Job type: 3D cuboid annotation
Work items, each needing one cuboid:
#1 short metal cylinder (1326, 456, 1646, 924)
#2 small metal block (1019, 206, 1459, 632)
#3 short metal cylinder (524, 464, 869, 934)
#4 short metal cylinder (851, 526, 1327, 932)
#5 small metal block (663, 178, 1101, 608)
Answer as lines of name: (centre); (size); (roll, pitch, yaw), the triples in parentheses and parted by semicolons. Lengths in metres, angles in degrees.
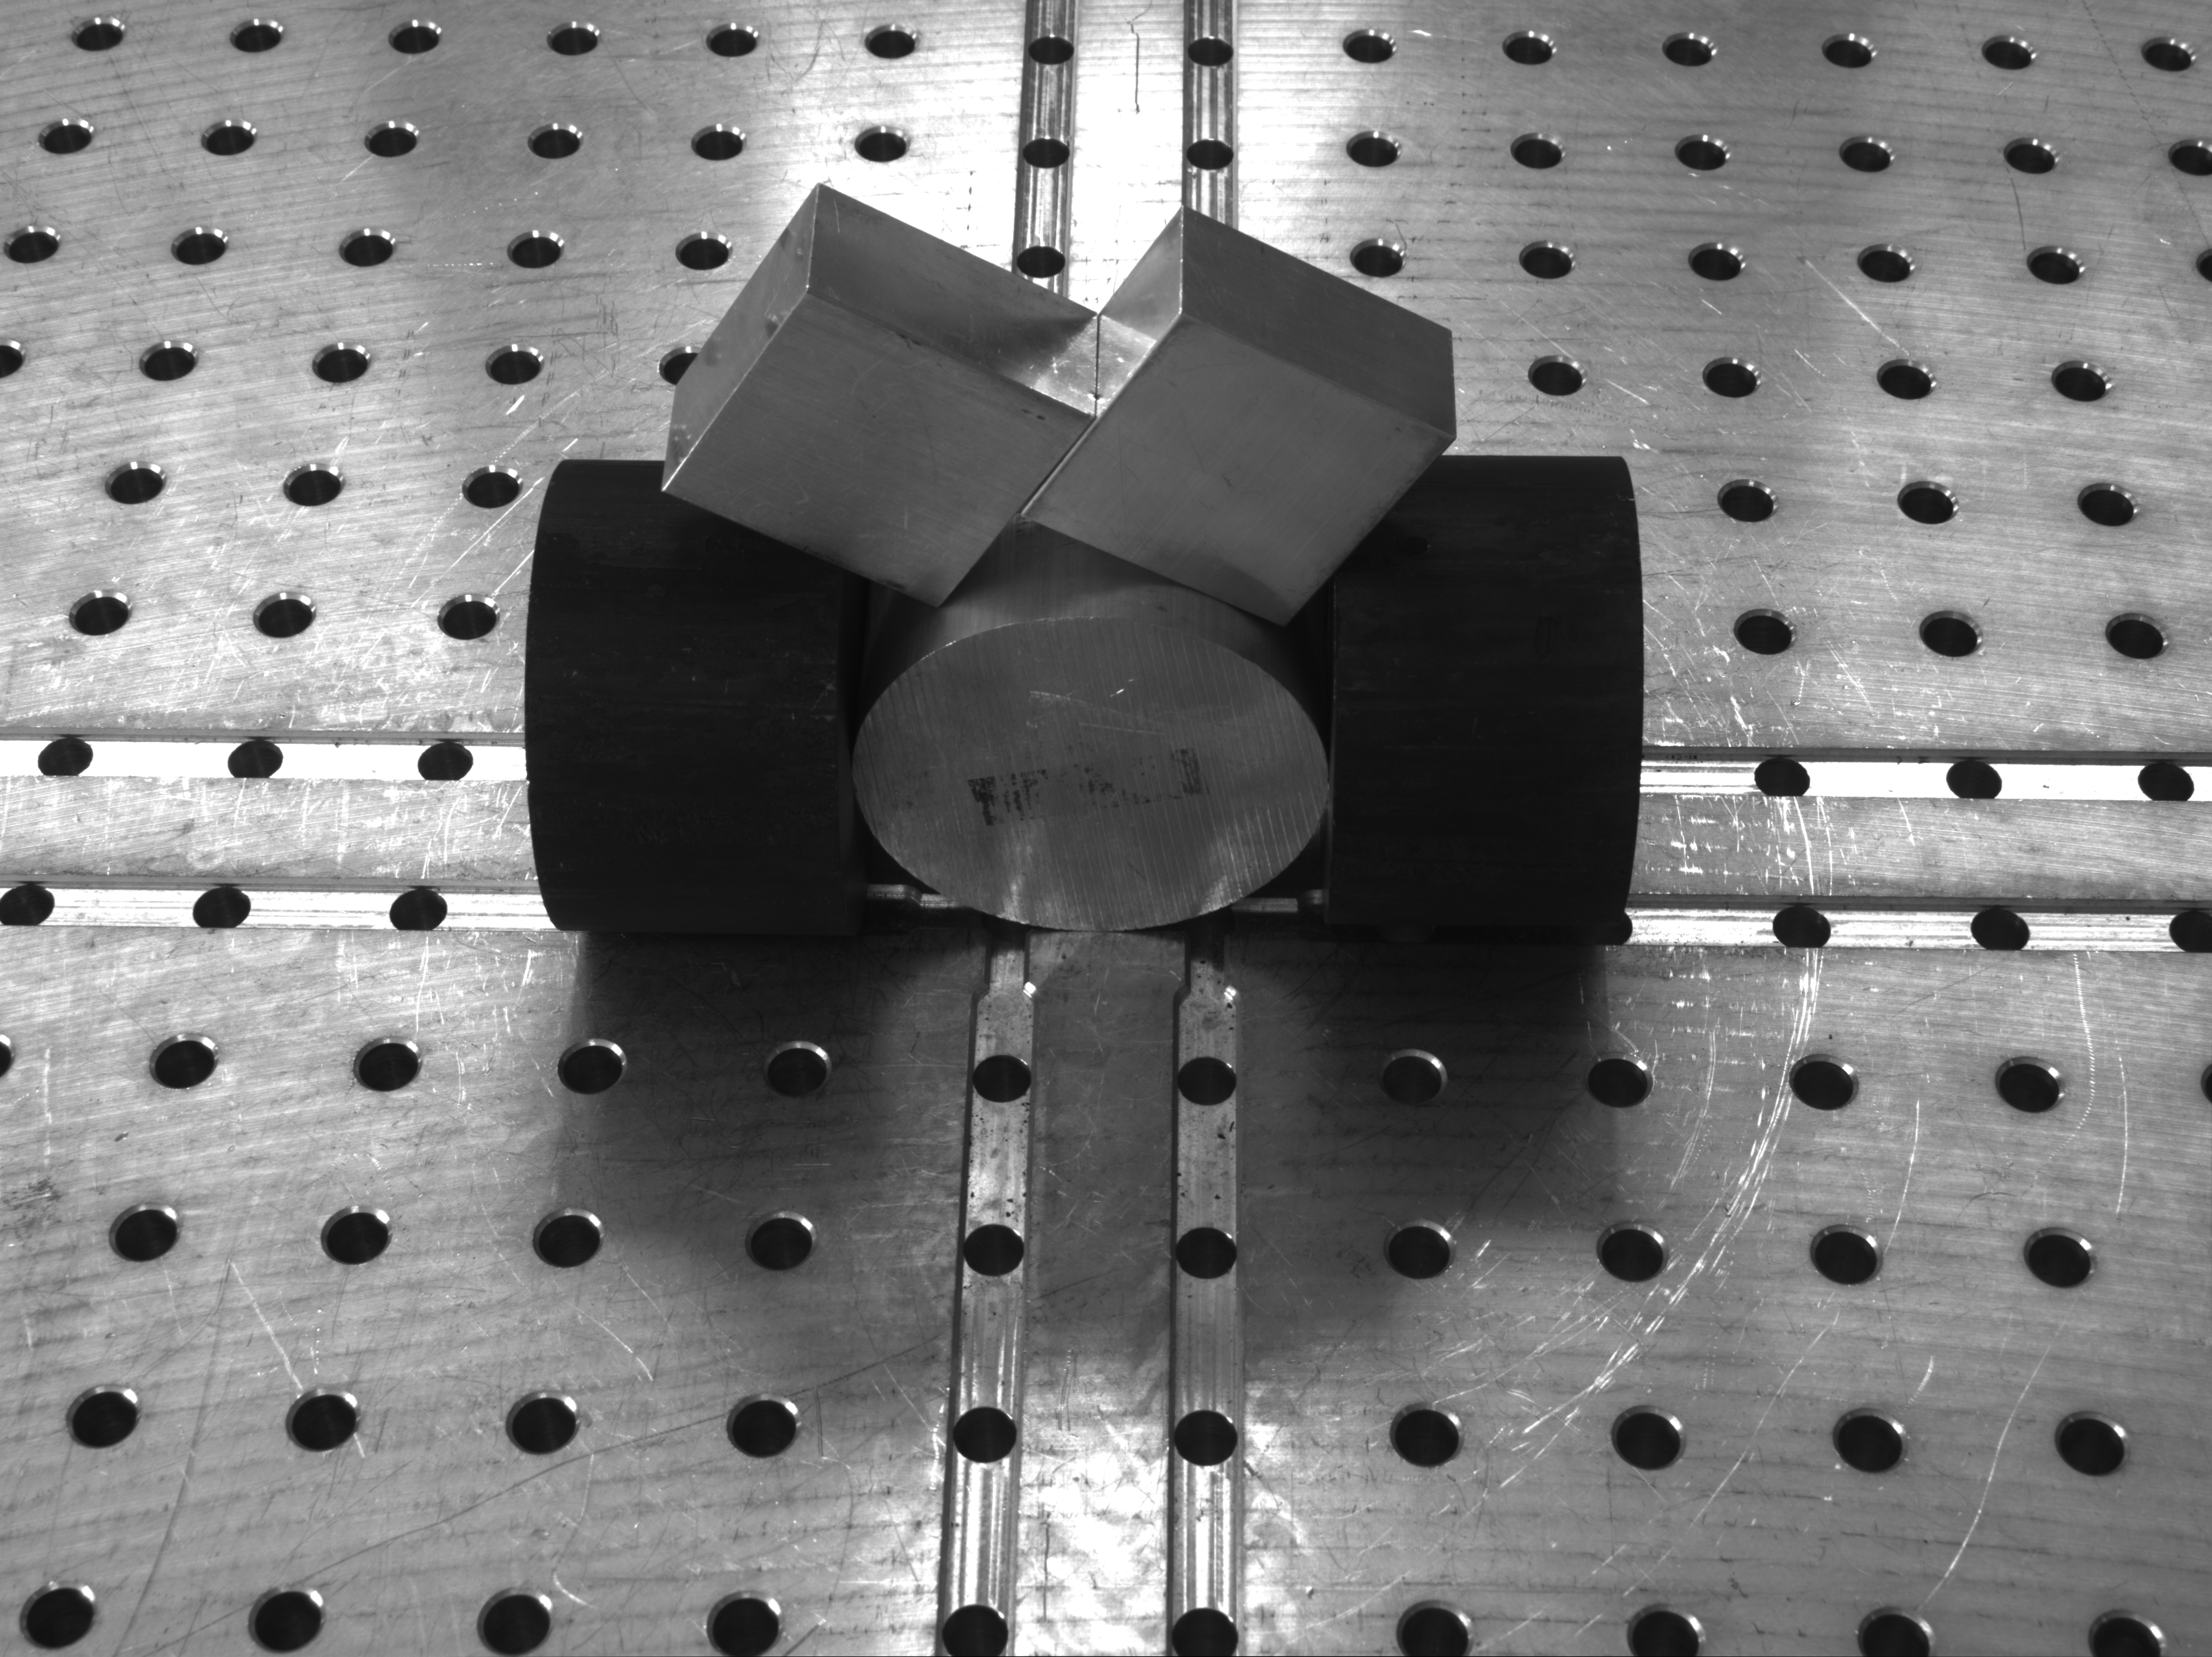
short metal cylinder: (0.063, -0.024, 0.629); (0.050, 0.080, 0.080); (0, 50, 2)
small metal block: (0.021, -0.064, 0.583); (0.050, 0.050, 0.025); (21, 46, -22)
short metal cylinder: (-0.067, -0.022, 0.628); (0.050, 0.080, 0.080); (1, 50, 1)
short metal cylinder: (-0.002, -0.027, 0.632); (0.080, 0.080, 0.050); (1, 50, 1)
small metal block: (-0.035, -0.068, 0.580); (0.050, 0.050, 0.025); (22, 46, -23)
